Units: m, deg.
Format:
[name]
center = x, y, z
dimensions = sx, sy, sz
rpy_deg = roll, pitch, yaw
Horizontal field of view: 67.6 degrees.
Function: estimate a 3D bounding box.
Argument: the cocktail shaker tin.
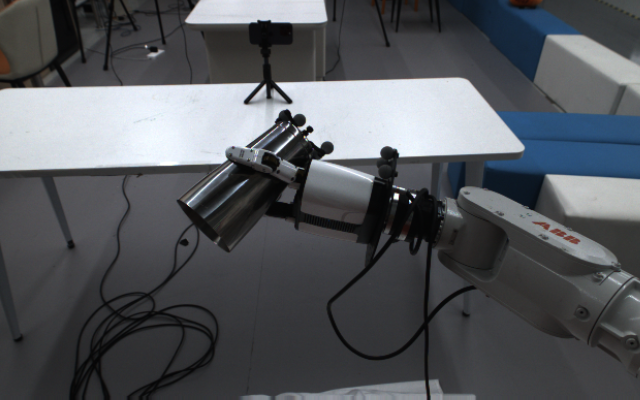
[cocktail shaker tin]
center = -0.088, -0.029, 0.625
dimensions = 0.093, 0.093, 0.170
rpy_deg = 32, 66, 35
